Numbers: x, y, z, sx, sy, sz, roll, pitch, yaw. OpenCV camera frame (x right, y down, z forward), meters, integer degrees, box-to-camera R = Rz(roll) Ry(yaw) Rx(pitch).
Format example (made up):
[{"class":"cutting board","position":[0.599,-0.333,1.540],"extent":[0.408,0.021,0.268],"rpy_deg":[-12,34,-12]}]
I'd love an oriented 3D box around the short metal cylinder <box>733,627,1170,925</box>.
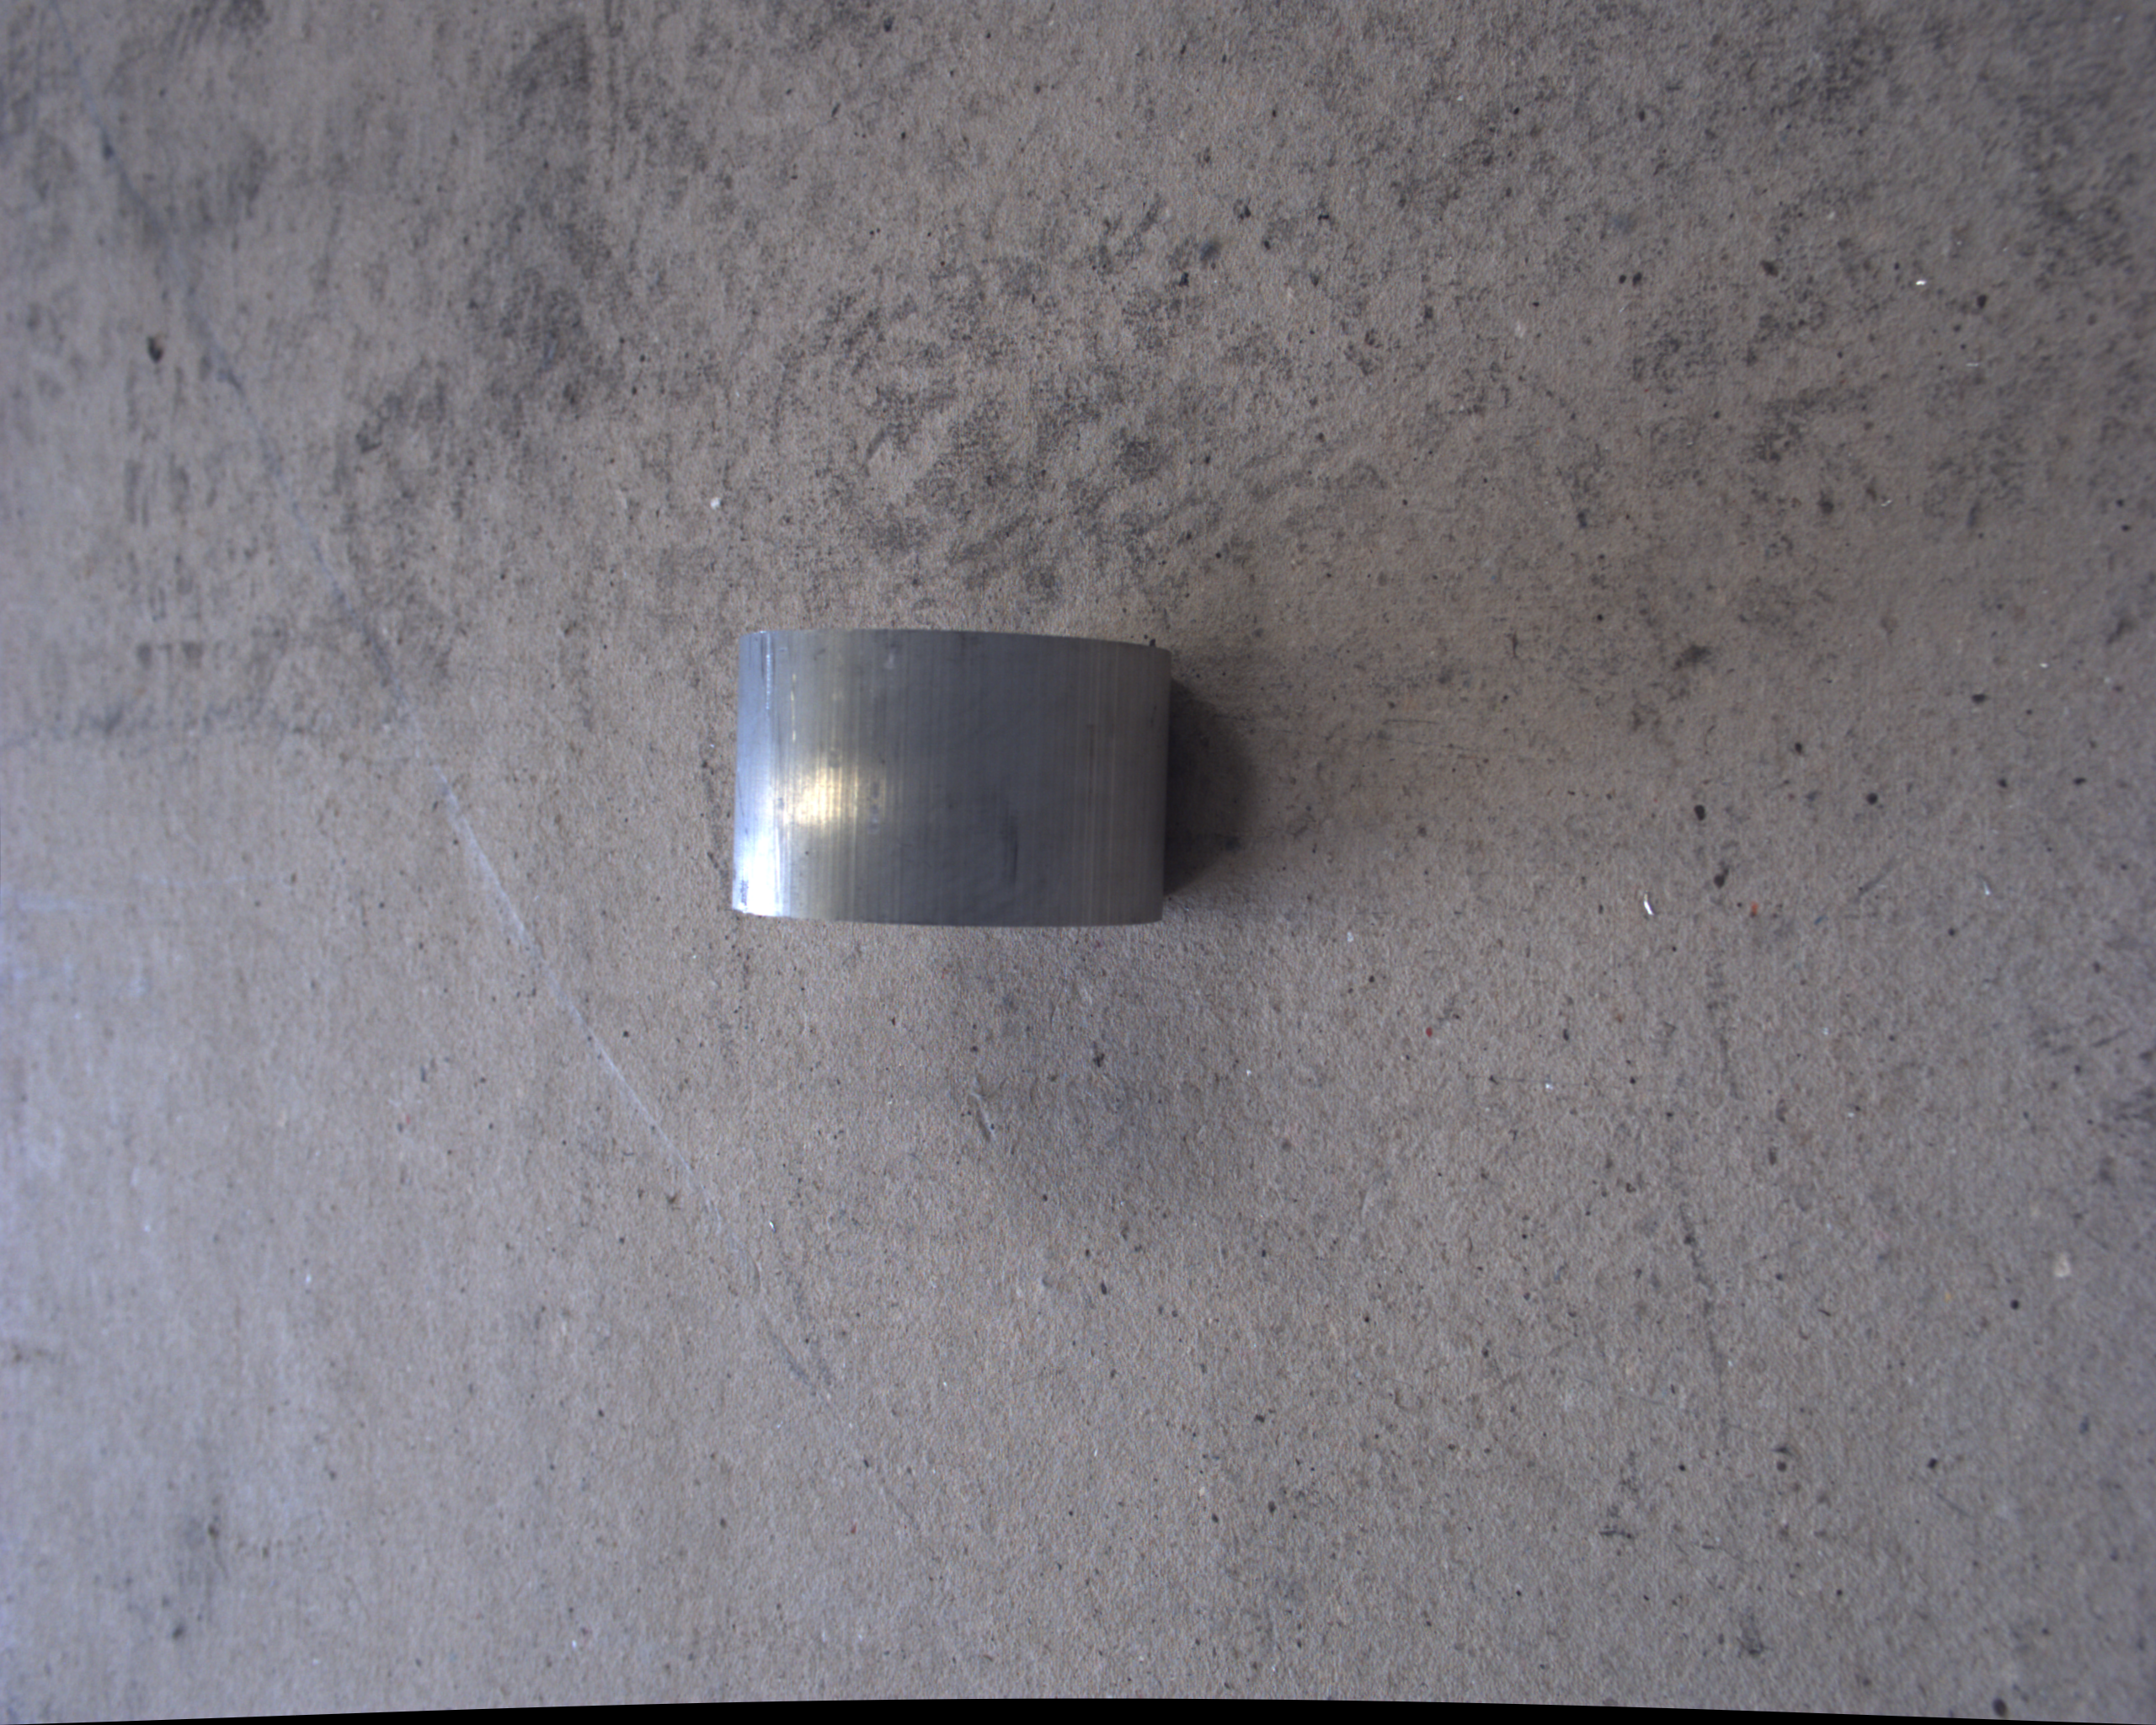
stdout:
[{"class":"short metal cylinder","position":[-0.023,-0.016,0.391],"extent":[0.080,0.081,0.050],"rpy_deg":[3,92,40]}]
